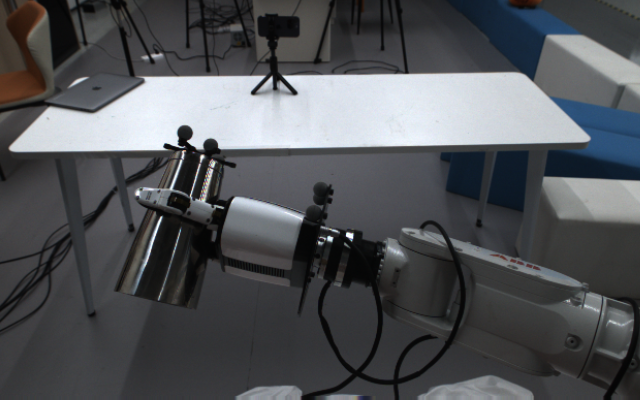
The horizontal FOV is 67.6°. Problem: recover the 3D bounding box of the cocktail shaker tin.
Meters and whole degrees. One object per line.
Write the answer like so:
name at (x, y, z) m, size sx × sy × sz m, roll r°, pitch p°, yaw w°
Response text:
cocktail shaker tin at (-0.166, 0.035, 0.564) m, size 0.093 × 0.093 × 0.170 m, roll 10°, pitch 74°, yaw 11°
